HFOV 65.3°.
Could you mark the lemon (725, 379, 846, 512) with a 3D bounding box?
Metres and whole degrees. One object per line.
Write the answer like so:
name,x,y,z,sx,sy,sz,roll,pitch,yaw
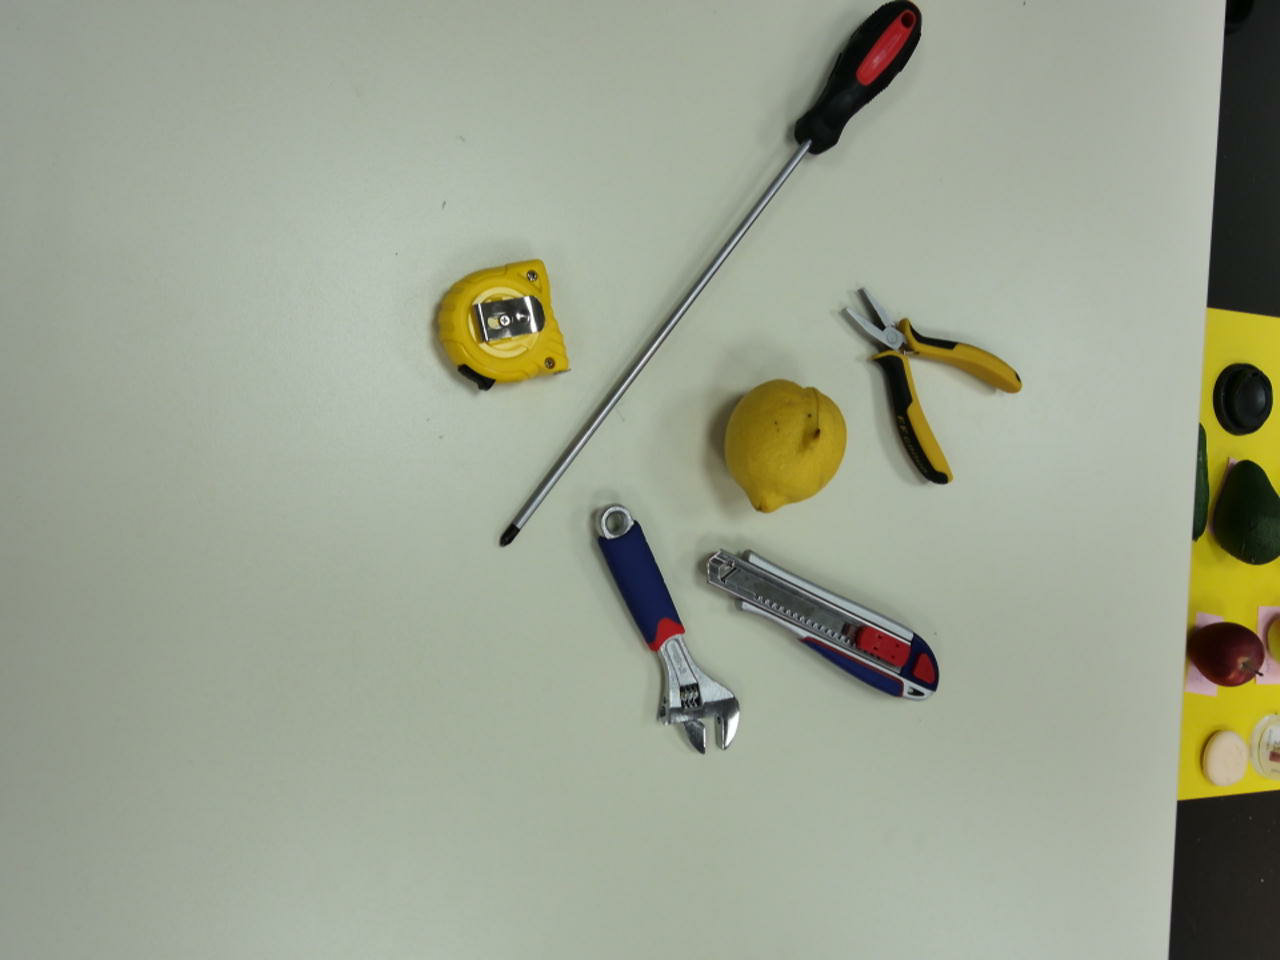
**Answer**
lemon,0.084,-0.022,0.569,0.071,0.071,0.070,-31,102,-19
